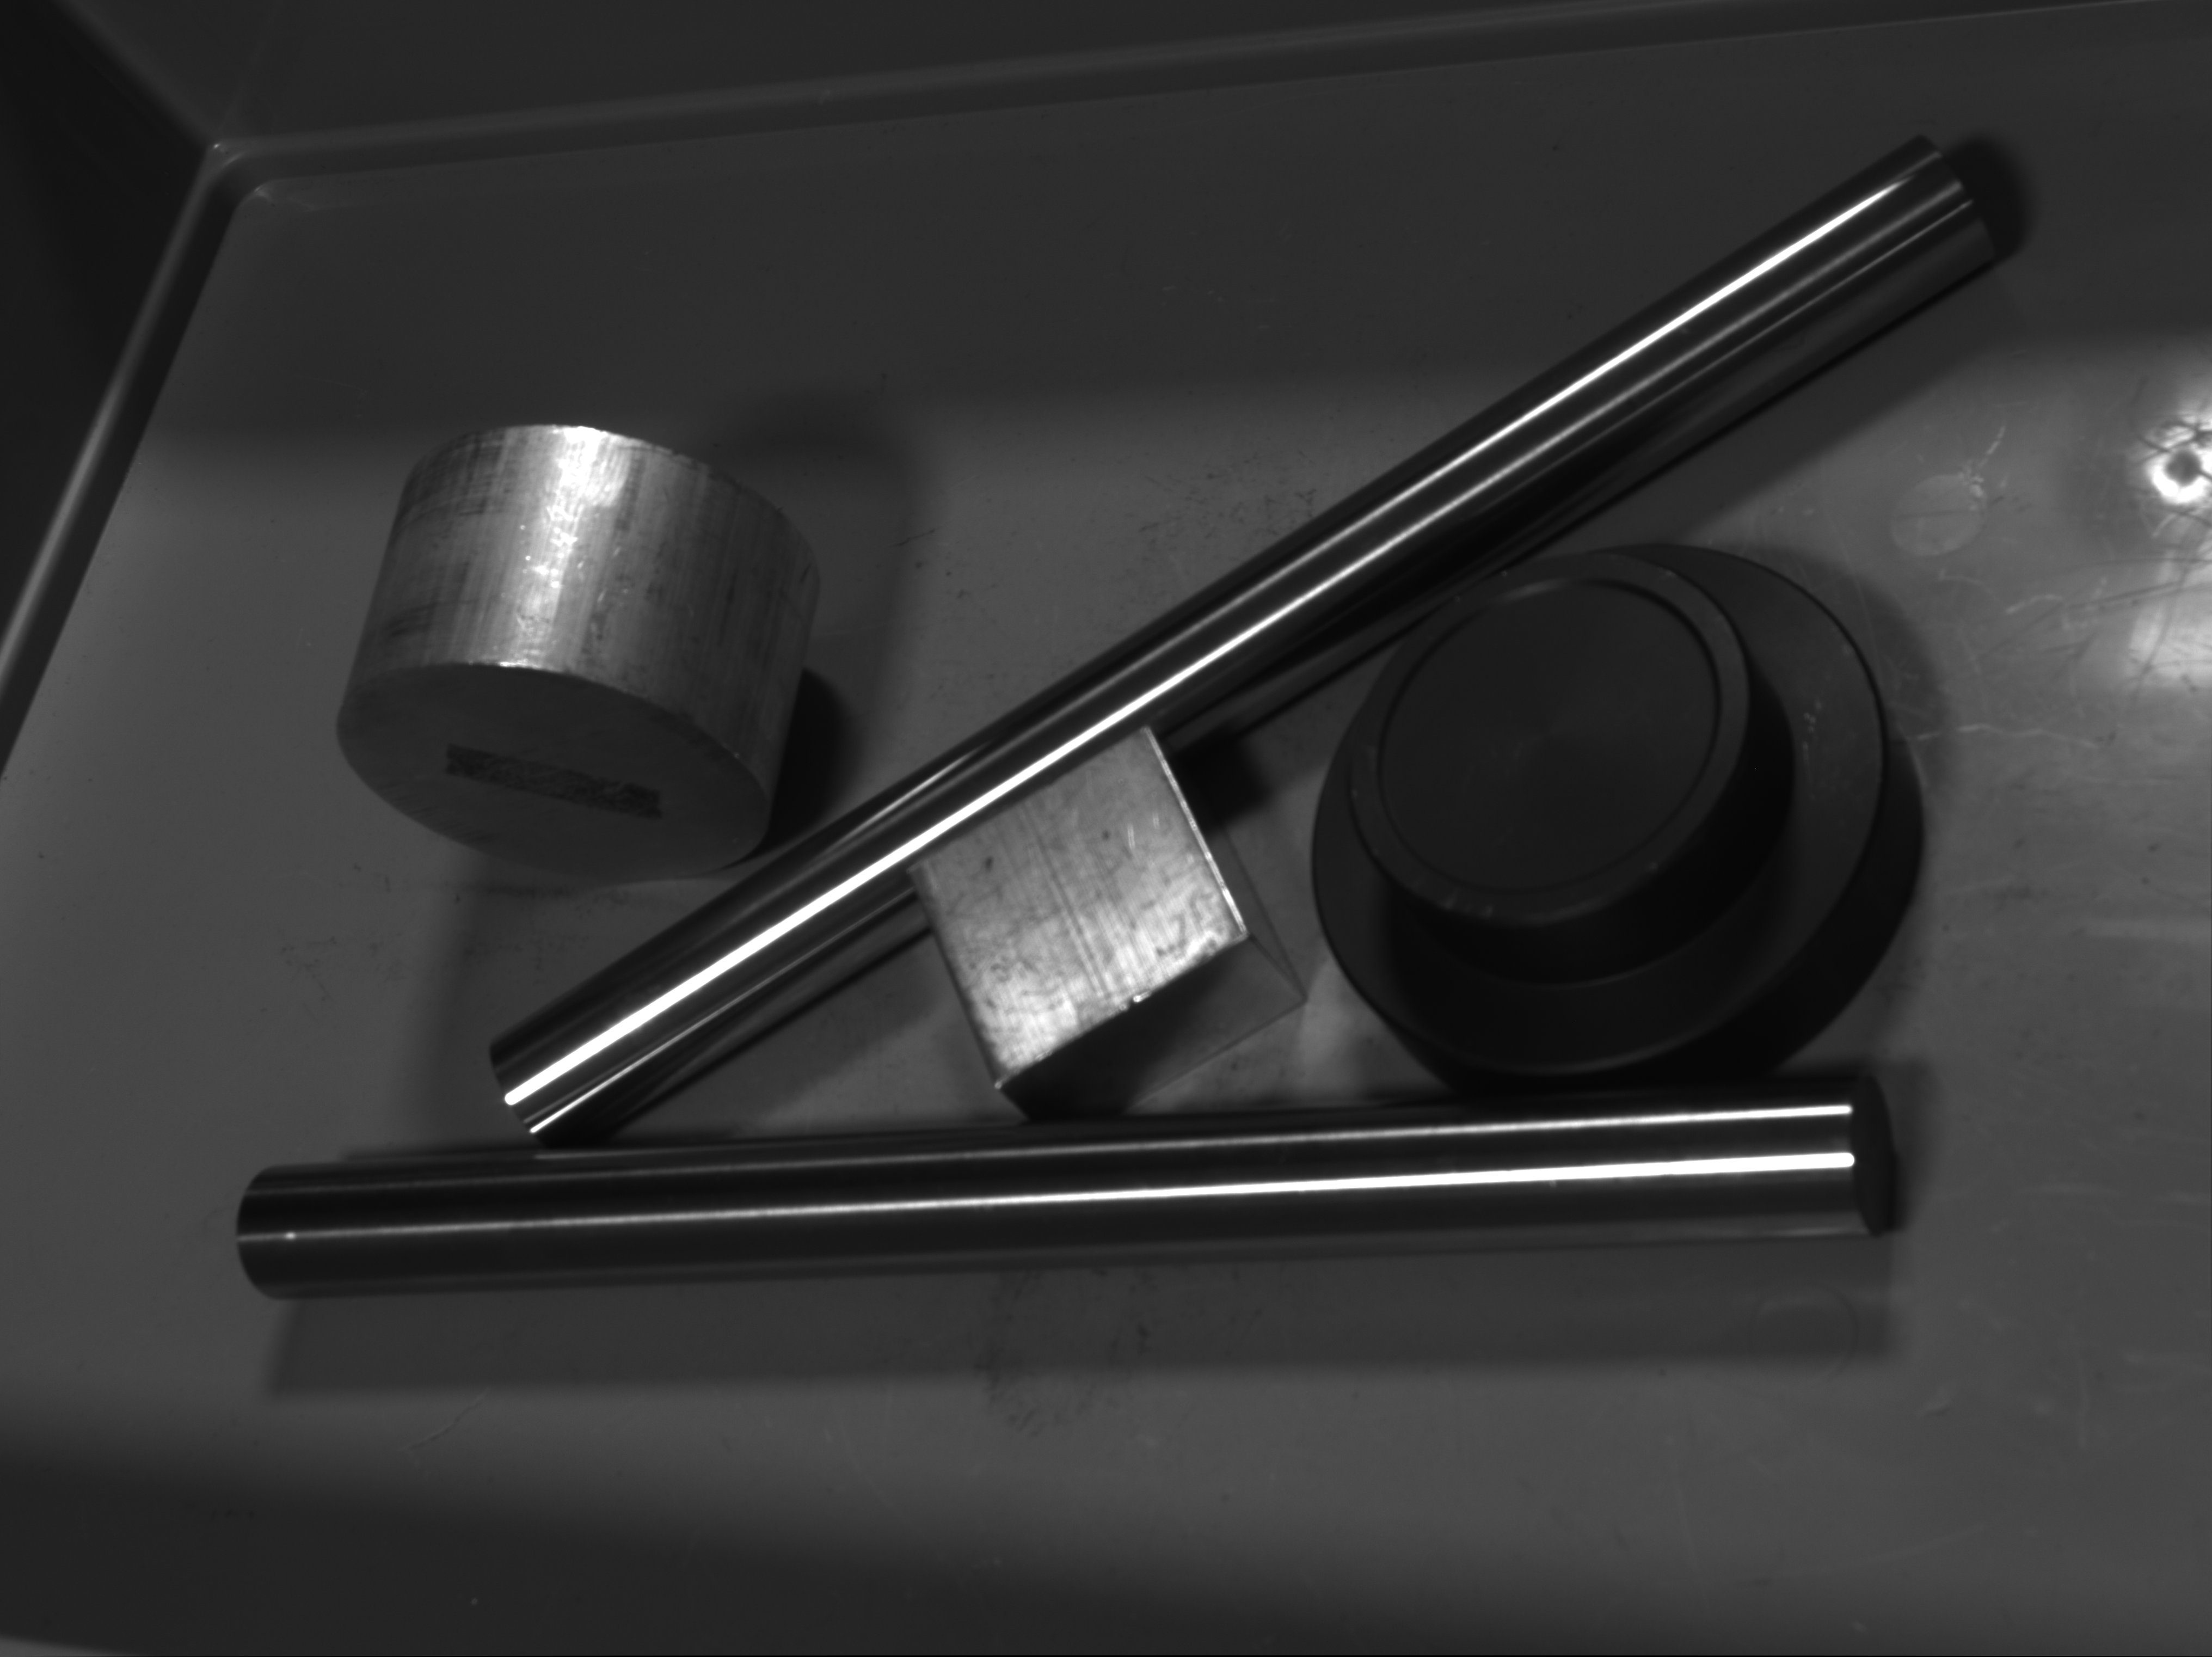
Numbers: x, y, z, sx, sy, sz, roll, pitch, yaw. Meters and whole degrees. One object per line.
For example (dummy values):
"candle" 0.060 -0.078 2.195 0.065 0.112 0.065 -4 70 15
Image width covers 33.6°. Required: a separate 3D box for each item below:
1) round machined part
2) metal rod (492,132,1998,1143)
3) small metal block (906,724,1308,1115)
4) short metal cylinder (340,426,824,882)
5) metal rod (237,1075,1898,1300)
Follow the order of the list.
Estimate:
"round machined part" 0.078 -0.005 0.591 0.098 0.042 0.098 -13 56 21
"metal rod" 0.021 -0.030 0.650 0.300 0.025 0.025 -32 51 7
"small metal block" 0.000 0.018 0.631 0.050 0.025 0.050 -31 51 8
"short metal cylinder" -0.096 -0.031 0.679 0.080 0.080 0.050 -5 59 26
"metal rod" -0.019 0.062 0.615 0.299 0.025 0.025 -5 59 26
